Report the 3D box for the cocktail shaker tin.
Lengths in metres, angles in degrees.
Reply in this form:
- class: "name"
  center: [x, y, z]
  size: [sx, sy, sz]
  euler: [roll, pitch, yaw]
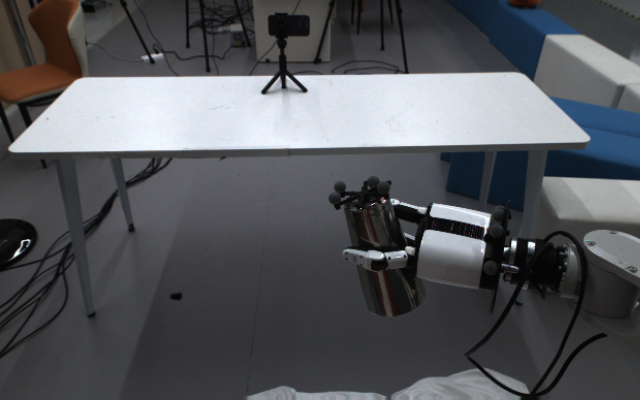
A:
- class: "cocktail shaker tin"
  center: [0.090, 0.073, 0.708]
  size: [0.093, 0.170, 0.093]
  euler: [-17, 20, 7]
